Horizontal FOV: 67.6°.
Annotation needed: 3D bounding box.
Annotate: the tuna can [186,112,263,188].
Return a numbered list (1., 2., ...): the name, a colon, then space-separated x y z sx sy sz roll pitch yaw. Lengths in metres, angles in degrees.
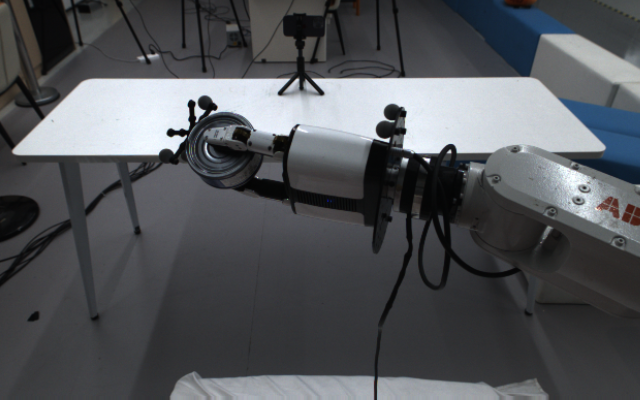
1. tuna can: -0.107 -0.054 0.561 0.085 0.034 0.085 -1 73 4
